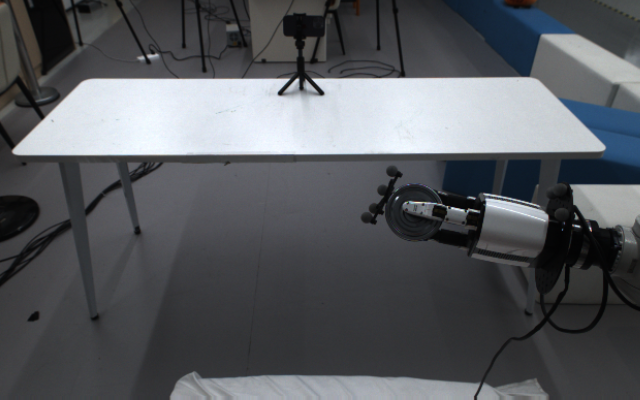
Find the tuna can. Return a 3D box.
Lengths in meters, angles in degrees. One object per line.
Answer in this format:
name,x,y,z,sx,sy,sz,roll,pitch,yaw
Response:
tuna can,0.142,0.016,0.715,0.085,0.085,0.034,9,-5,9
